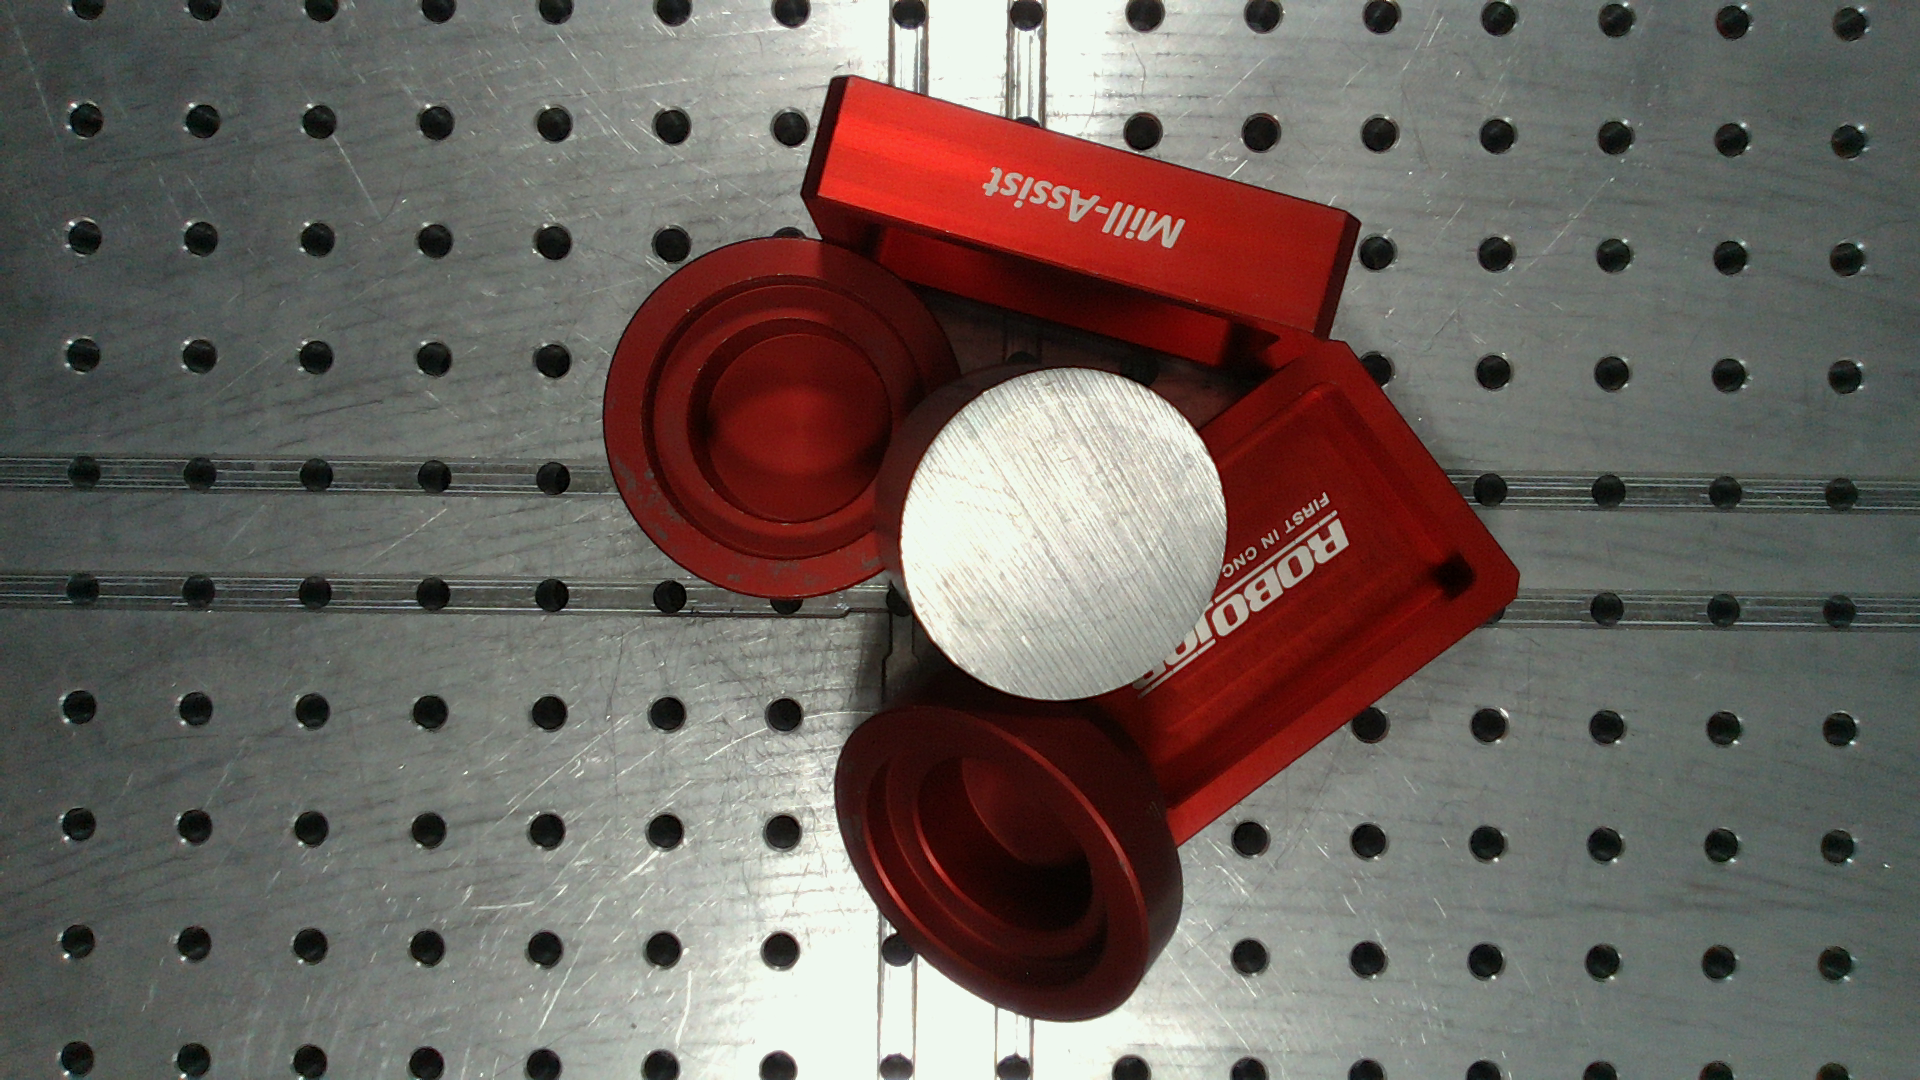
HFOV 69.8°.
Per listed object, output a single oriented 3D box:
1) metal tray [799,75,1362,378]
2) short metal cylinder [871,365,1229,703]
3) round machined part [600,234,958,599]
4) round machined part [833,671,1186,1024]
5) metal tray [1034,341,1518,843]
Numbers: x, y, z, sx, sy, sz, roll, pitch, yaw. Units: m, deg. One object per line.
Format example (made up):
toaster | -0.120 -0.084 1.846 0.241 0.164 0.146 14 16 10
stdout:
metal tray | 0.029 -0.078 0.365 0.130 0.090 0.030 15 90 0
short metal cylinder | 0.021 -0.004 0.348 0.080 0.050 0.080 -2 99 -12
round machined part | -0.048 -0.033 0.389 0.098 0.042 0.098 0 90 0
round machined part | 0.017 0.078 0.372 0.098 0.042 0.098 19 126 28
metal tray | 0.079 0.016 0.395 0.130 0.030 0.090 -37 90 0
